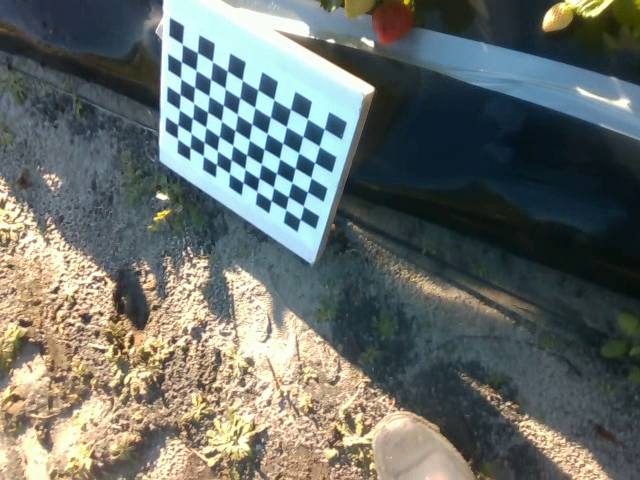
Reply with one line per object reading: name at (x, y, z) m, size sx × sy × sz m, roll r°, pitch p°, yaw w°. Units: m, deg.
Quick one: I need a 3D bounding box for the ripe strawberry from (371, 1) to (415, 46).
ripe strawberry at (0.072, -0.219, 0.619) m, size 0.048 × 0.064 × 0.045 m, roll 27°, pitch -34°, yaw -18°
